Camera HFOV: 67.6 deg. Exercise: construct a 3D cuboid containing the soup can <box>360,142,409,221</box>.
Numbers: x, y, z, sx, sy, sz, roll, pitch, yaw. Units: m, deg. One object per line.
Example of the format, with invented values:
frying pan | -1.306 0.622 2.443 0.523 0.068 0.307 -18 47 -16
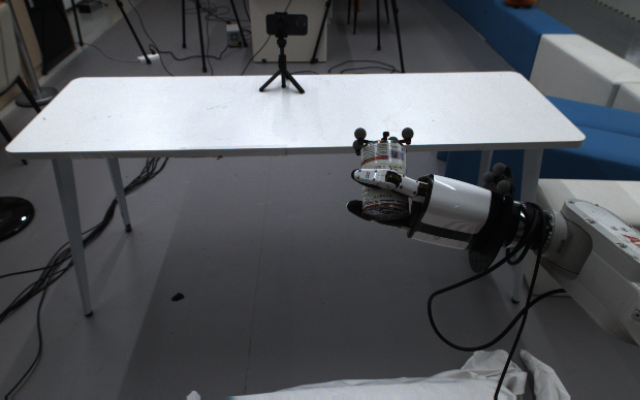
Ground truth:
soup can | 0.094 -0.028 0.700 0.067 0.067 0.101 1 73 -2
